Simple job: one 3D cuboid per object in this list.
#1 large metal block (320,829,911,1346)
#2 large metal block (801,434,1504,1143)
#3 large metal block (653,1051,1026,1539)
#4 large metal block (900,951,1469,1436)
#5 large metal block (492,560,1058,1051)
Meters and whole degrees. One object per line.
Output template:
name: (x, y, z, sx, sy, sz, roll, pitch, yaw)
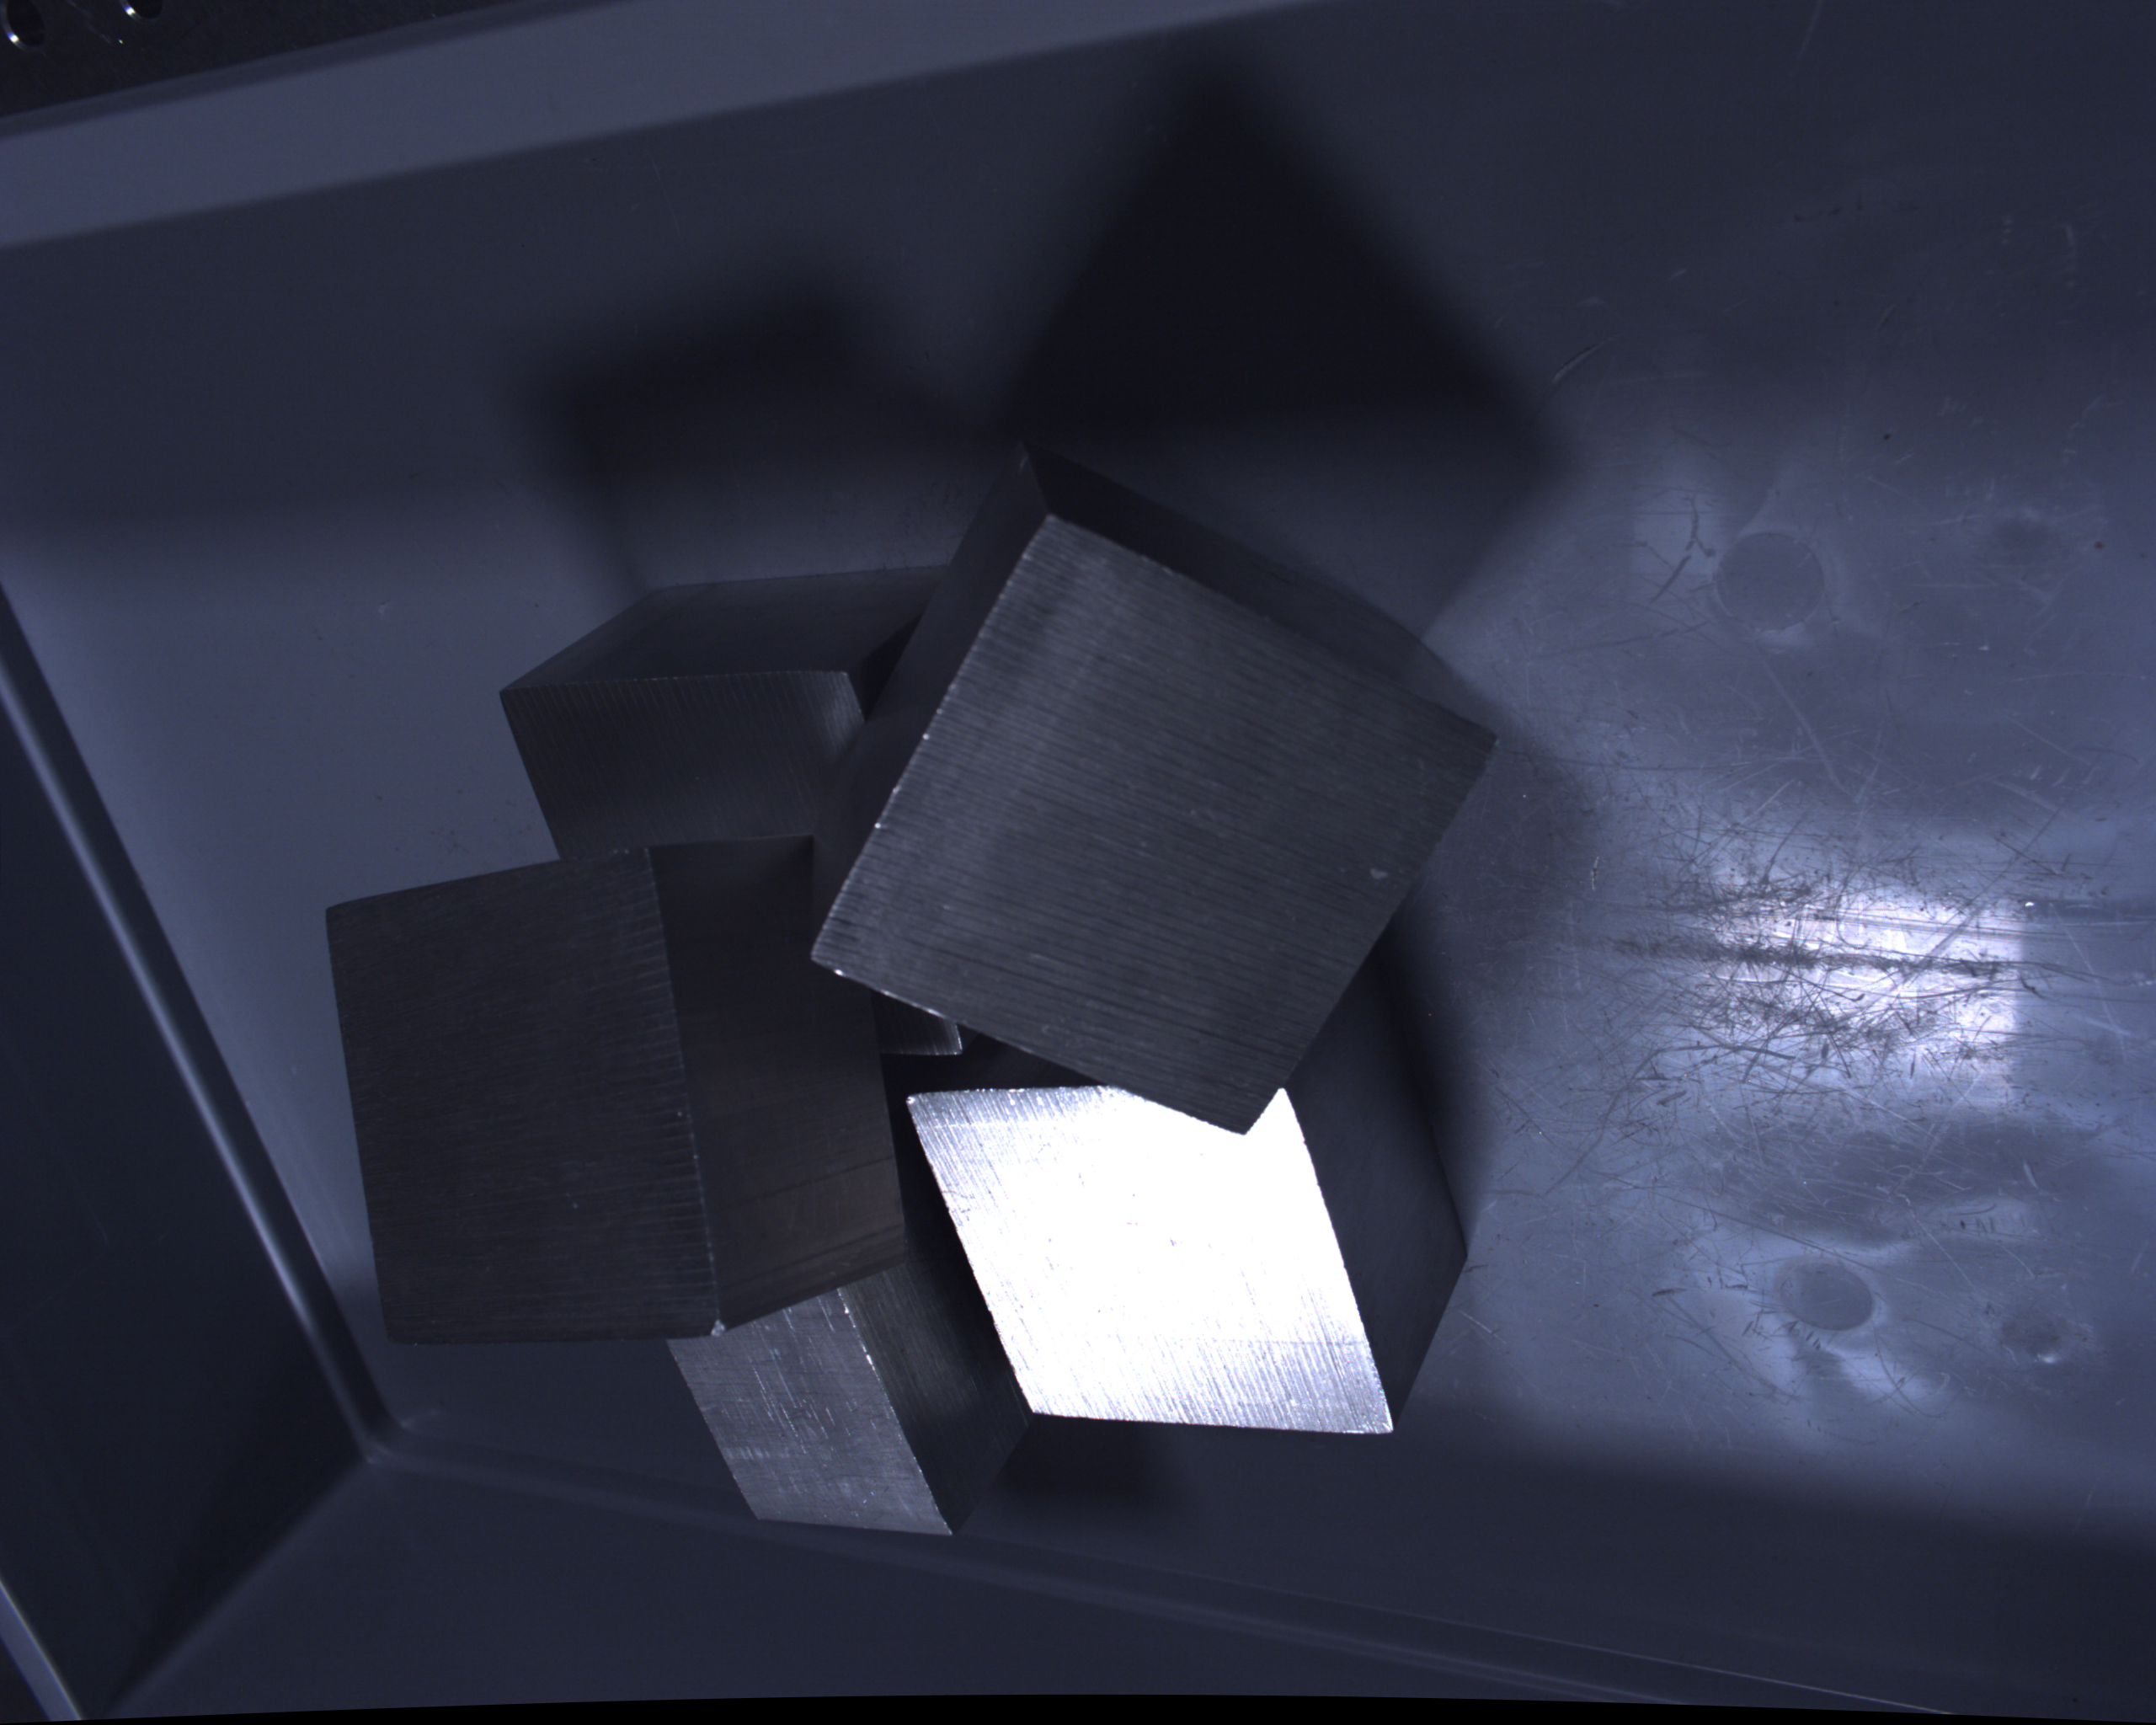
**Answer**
large metal block: (-0.083, 0.040, 0.373, 0.080, 0.050, 0.080, -10, 88, 32)
large metal block: (0.009, -0.012, 0.344, 0.080, 0.050, 0.080, 24, 109, -17)
large metal block: (-0.043, 0.083, 0.443, 0.050, 0.080, 0.080, -7, 115, 31)
large metal block: (0.023, 0.064, 0.414, 0.080, 0.050, 0.080, -5, 116, 30)
large metal block: (-0.055, -0.011, 0.412, 0.080, 0.050, 0.080, -1, 118, 28)
